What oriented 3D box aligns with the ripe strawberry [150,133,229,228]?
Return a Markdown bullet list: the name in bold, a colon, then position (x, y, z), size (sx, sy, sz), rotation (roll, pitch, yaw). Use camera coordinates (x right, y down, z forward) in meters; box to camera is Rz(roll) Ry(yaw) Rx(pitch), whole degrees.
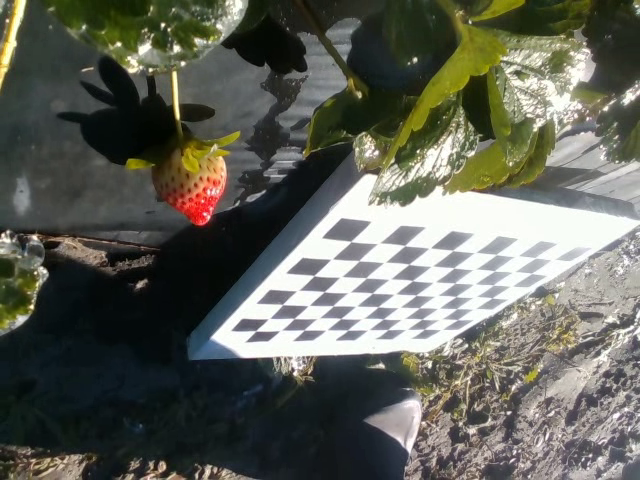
- **ripe strawberry**: position (-0.059, -0.026, 0.291), size (0.039, 0.053, 0.041), rotation (-7, 45, -15)
